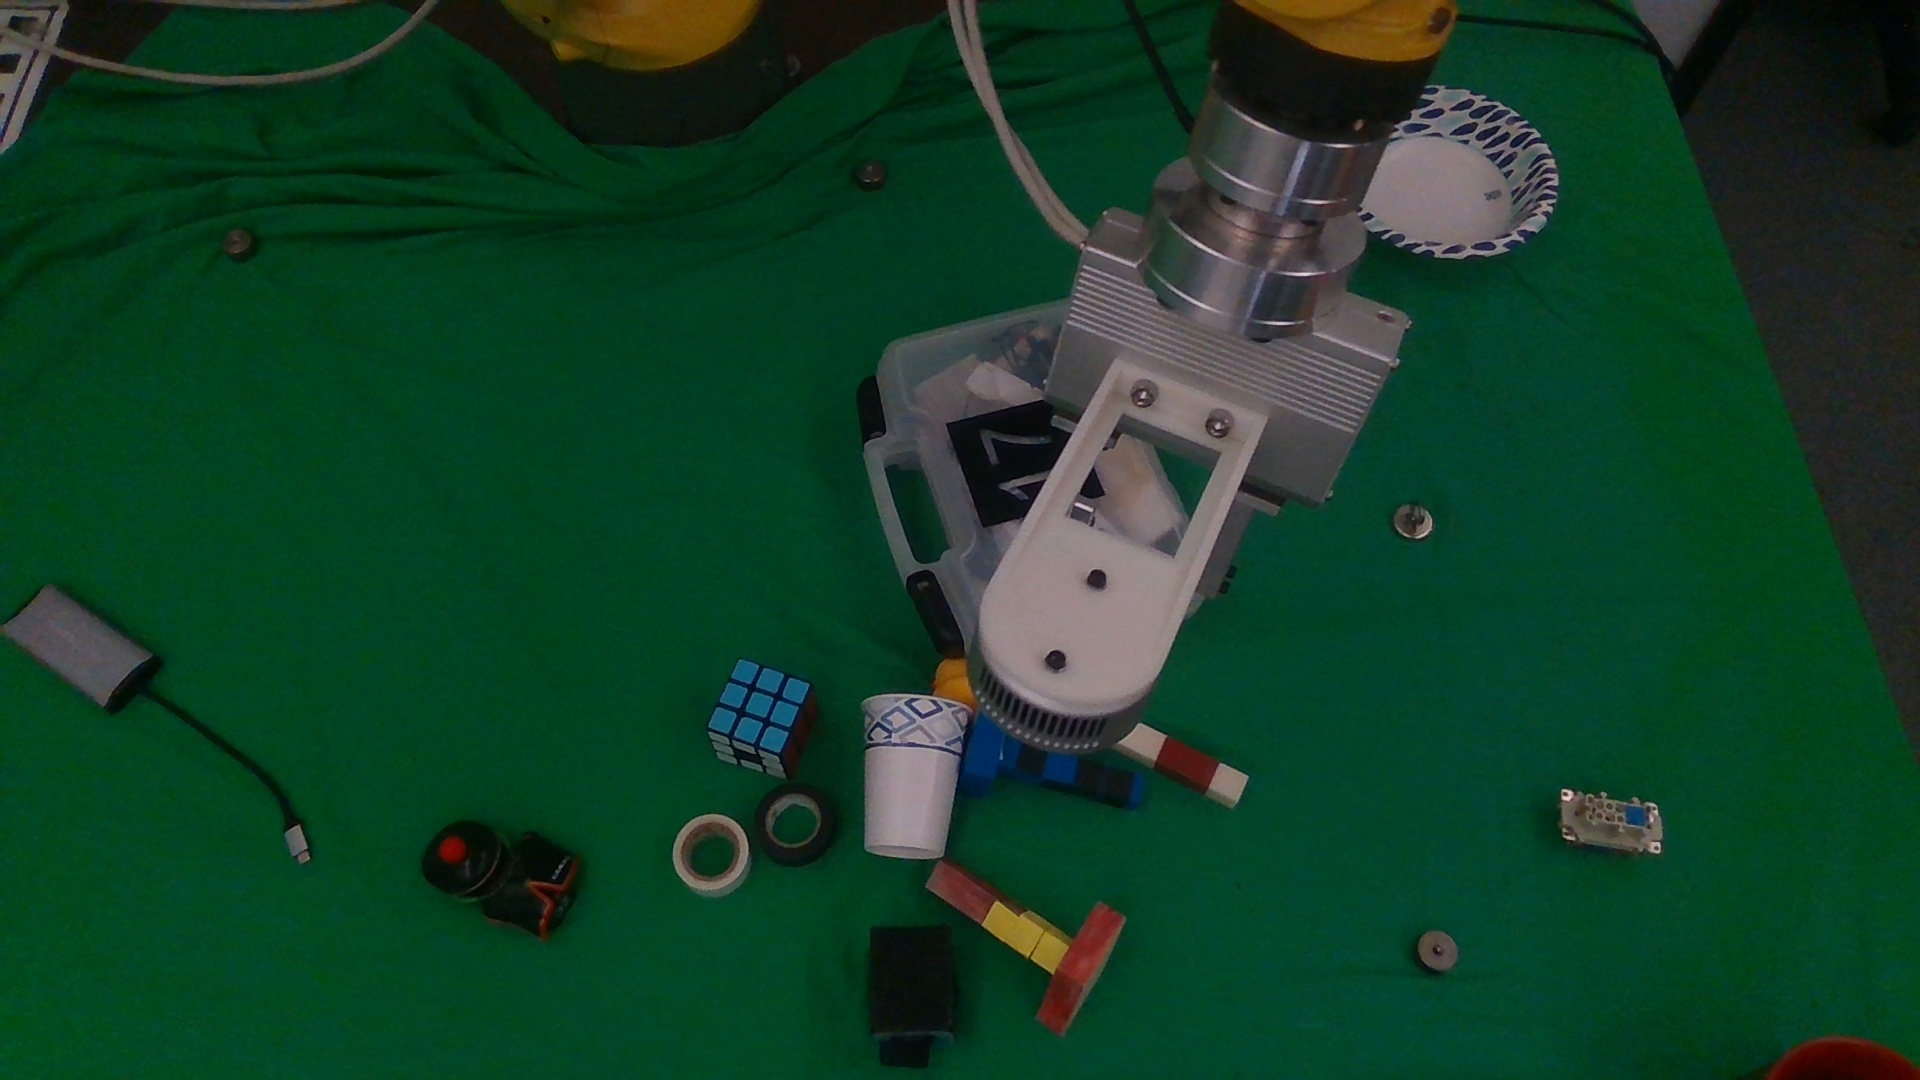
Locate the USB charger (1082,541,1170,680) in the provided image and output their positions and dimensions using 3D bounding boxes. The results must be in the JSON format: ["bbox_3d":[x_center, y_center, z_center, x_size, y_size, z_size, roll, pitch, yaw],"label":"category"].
[{"bbox_3d":[0.074,0.032,0.622,0.044,0.029,0.075,21,40,-7],"label":"USB charger"}]

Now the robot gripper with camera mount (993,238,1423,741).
[{"bbox_3d":[0.070,0.016,0.529,0.119,0.159,0.193,27,44,7],"label":"robot gripper with camera mount"}]
